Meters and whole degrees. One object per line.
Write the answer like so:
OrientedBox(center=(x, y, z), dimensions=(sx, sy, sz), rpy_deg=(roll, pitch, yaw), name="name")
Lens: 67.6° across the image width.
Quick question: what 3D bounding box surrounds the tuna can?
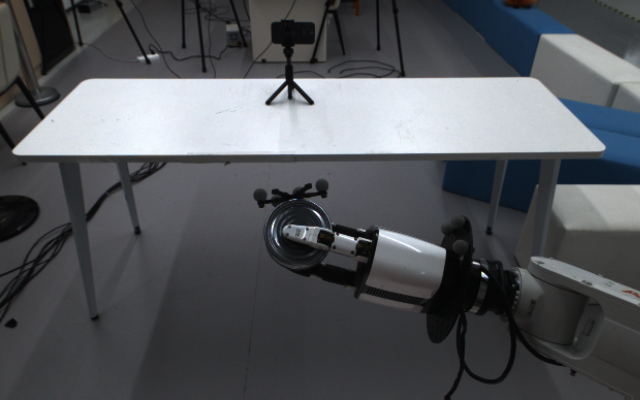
OrientedBox(center=(-0.022, 0.048, 0.597), dimensions=(0.085, 0.034, 0.085), rpy_deg=(0, 72, -1), name="tuna can")
